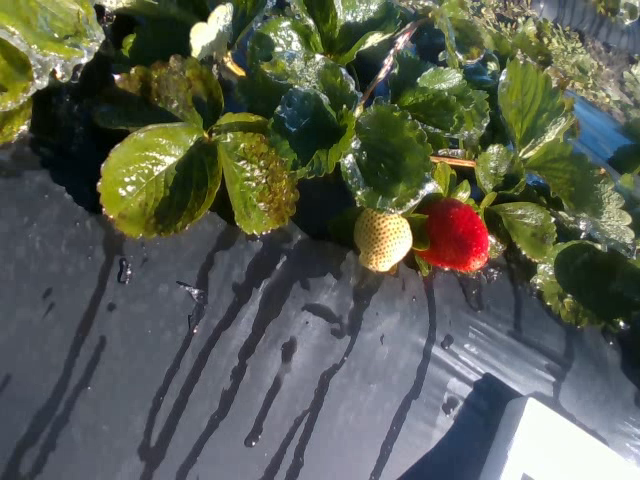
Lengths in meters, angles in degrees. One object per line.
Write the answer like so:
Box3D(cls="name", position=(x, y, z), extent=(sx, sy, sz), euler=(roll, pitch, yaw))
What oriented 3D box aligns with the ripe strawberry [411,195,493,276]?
Box3D(cls="ripe strawberry", position=(0.078, 0.005, 0.341), extent=(0.042, 0.046, 0.061), euler=(20, 23, -10))
